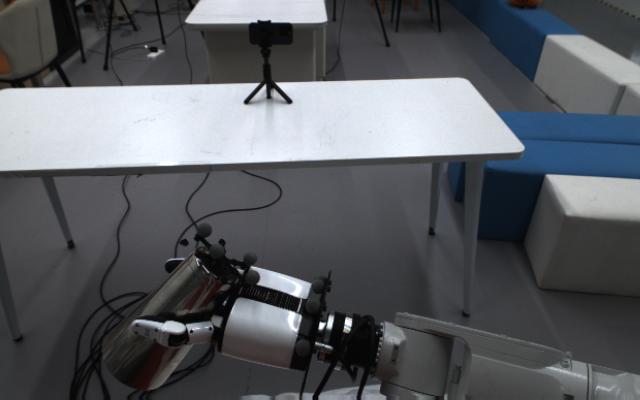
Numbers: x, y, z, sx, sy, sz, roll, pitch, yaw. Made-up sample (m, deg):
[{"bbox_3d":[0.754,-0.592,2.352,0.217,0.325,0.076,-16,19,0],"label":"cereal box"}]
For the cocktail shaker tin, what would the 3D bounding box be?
[{"bbox_3d":[-0.176,0.136,0.593,0.093,0.170,0.093,41,12,-11],"label":"cocktail shaker tin"}]
